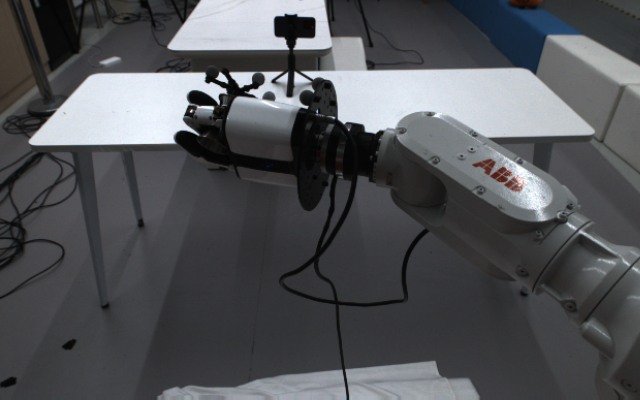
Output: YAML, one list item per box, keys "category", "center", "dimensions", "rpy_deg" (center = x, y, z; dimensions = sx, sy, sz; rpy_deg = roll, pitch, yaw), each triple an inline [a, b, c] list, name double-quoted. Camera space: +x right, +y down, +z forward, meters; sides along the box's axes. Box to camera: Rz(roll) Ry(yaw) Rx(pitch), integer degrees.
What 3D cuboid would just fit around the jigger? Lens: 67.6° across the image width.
- category: "jigger"
  center: [-0.122, -0.097, 0.623]
  dimensions: [0.043, 0.043, 0.071]
  rpy_deg: [13, 70, 16]
